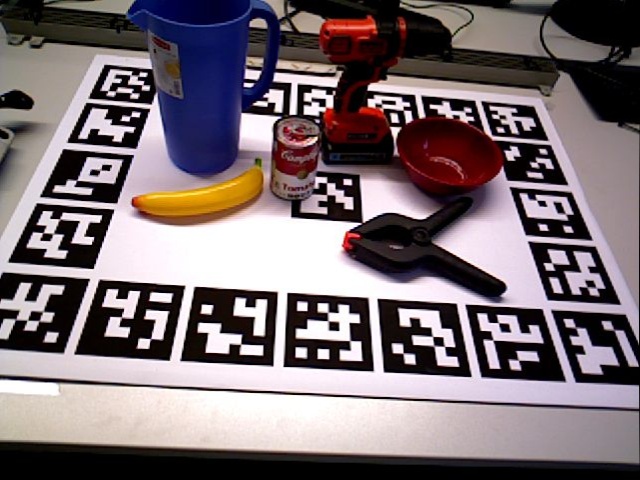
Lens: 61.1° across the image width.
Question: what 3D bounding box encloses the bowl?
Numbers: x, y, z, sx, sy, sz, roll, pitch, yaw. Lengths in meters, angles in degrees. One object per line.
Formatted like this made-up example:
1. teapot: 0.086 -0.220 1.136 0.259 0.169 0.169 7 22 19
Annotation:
1. bowl: 0.190 -0.120 0.799 0.160 0.056 0.159 3 52 -4

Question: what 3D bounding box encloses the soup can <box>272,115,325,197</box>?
1. soup can: -0.031 -0.119 0.741 0.067 0.104 0.067 4 42 -4

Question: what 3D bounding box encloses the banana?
1. banana: -0.157 -0.067 0.726 0.194 0.040 0.074 -16 46 -21

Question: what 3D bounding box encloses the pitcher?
1. pitcher: -0.144 -0.220 0.716 0.186 0.248 0.132 -16 51 -20

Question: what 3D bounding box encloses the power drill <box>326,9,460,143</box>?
1. power drill: 0.091 -0.226 0.762 0.183 0.191 0.056 0 50 -8

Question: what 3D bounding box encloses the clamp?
1. clamp: 0.134 -0.002 0.698 0.201 0.037 0.163 1 54 -6
